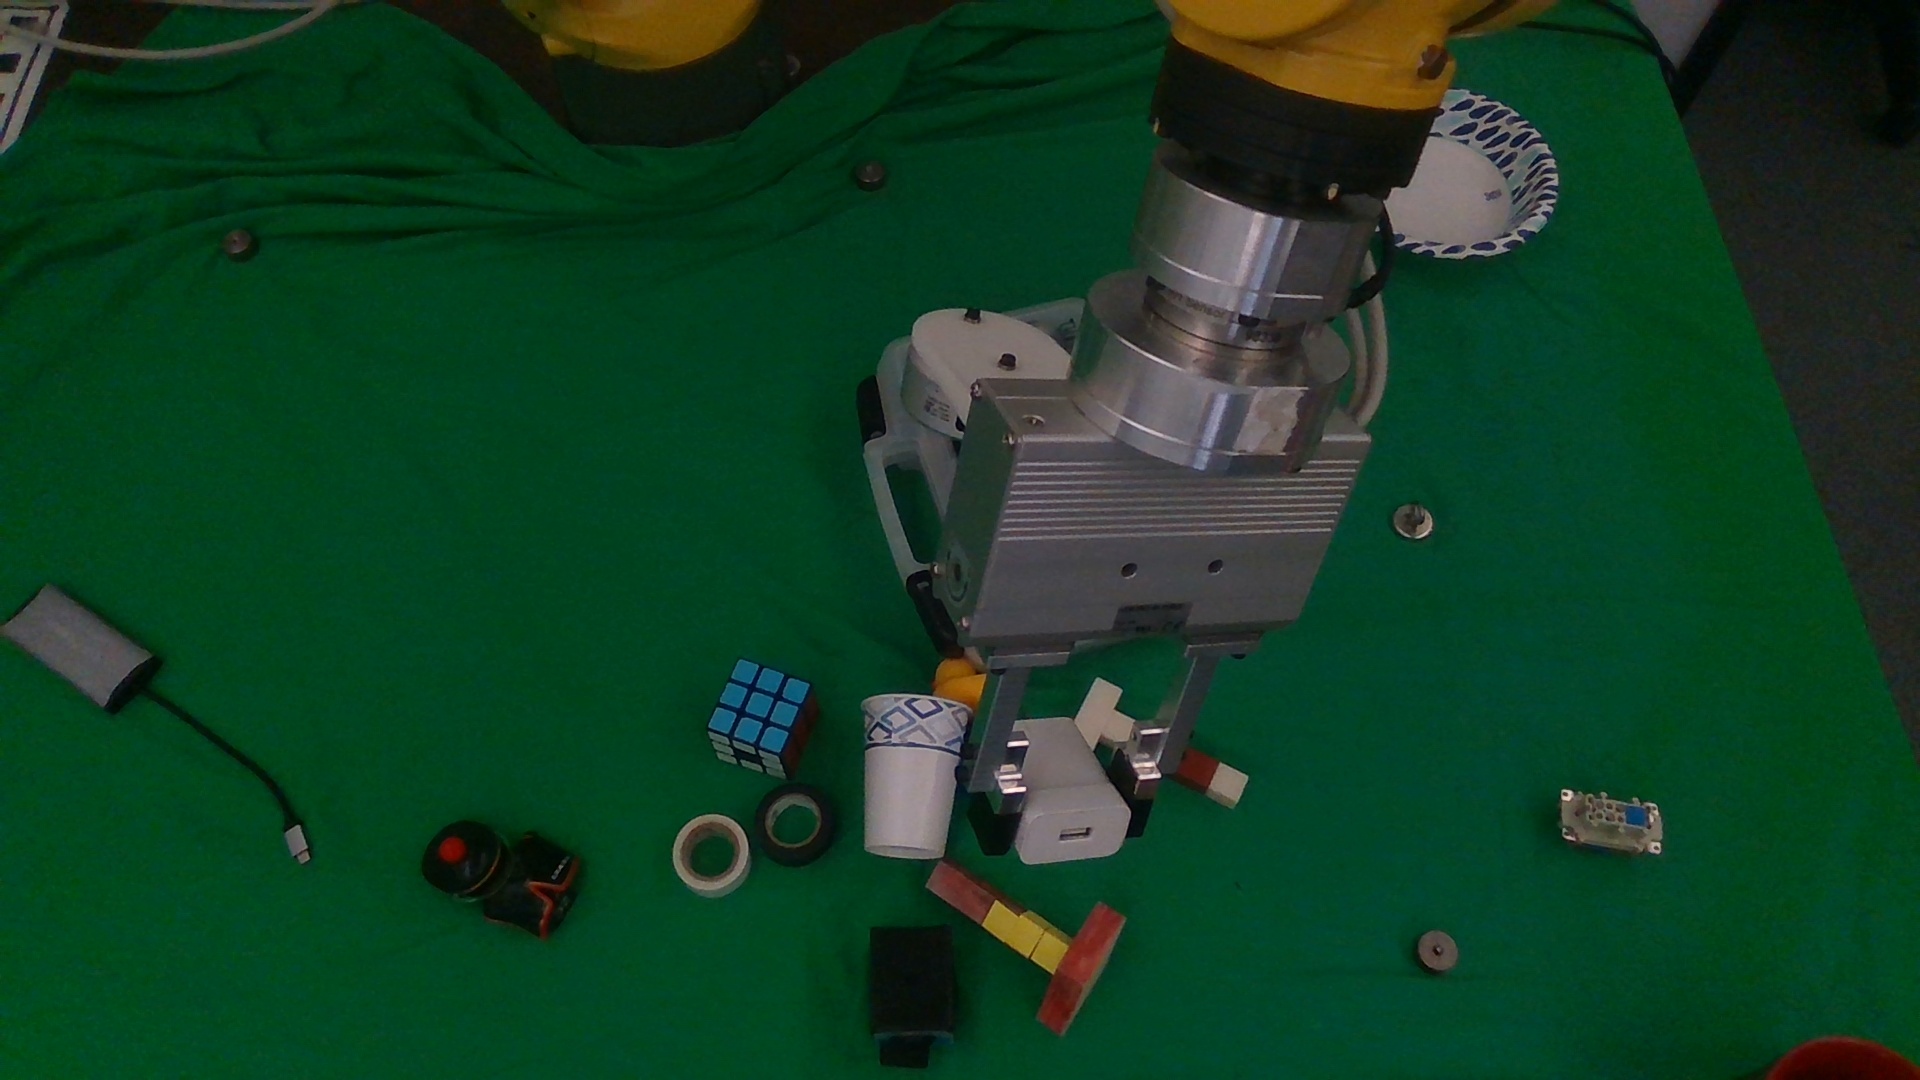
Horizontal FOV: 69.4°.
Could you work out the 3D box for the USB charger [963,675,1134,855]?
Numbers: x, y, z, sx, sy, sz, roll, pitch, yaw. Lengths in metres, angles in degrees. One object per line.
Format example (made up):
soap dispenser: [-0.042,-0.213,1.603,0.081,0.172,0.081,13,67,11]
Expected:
USB charger: [0.029,0.081,0.528,0.044,0.029,0.076,-19,46,-26]

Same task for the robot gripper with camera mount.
robot gripper with camera mount: [0.021,-0.013,0.530,0.119,0.158,0.194,-5,37,-18]
